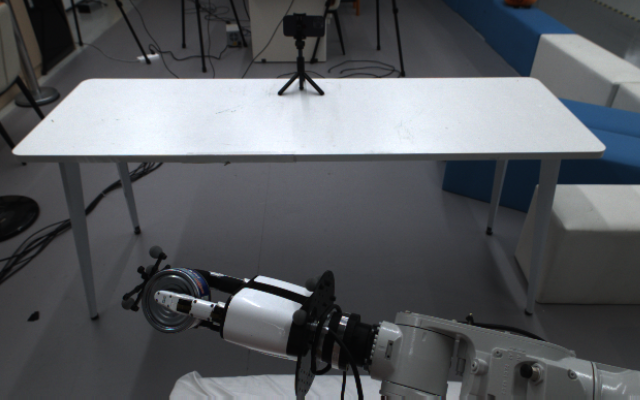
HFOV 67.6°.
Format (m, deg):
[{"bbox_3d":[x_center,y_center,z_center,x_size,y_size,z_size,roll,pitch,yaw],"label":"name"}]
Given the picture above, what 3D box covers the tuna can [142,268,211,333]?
[{"bbox_3d":[-0.189,0.137,0.641,0.085,0.085,0.034,9,-3,10],"label":"tuna can"}]
